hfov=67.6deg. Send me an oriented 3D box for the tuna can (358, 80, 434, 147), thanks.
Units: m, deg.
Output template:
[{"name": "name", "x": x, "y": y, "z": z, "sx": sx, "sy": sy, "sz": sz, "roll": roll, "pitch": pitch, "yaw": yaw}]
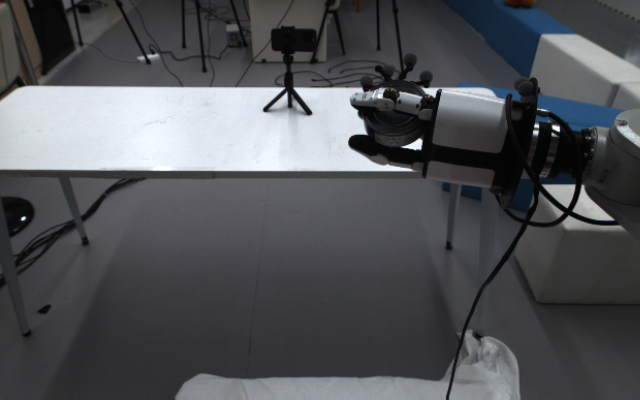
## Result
[{"name": "tuna can", "x": 0.098, "y": -0.112, "z": 0.629, "sx": 0.085, "sy": 0.034, "sz": 0.085, "roll": -6, "pitch": 61, "yaw": 10}]
